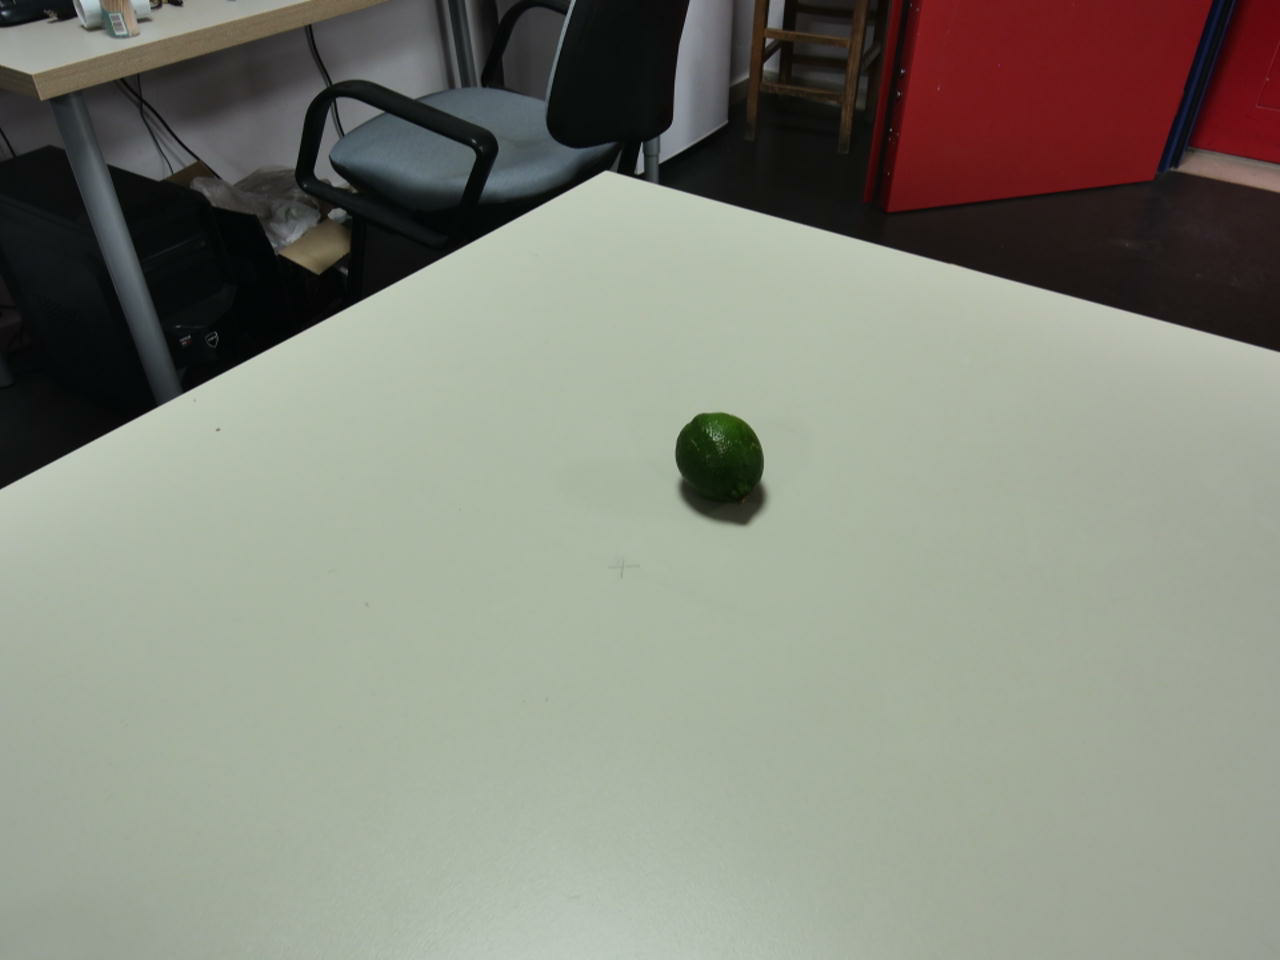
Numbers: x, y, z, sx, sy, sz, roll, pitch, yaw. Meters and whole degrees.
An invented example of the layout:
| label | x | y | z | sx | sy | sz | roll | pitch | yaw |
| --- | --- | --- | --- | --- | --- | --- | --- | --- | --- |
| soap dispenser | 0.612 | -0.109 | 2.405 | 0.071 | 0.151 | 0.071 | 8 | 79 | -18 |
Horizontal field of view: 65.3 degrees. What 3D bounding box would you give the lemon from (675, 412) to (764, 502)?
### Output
| label | x | y | z | sx | sy | sz | roll | pitch | yaw |
| --- | --- | --- | --- | --- | --- | --- | --- | --- | --- |
| lemon | 0.049 | -0.015 | 0.614 | 0.057 | 0.051 | 0.054 | 22 | 43 | 26 |
